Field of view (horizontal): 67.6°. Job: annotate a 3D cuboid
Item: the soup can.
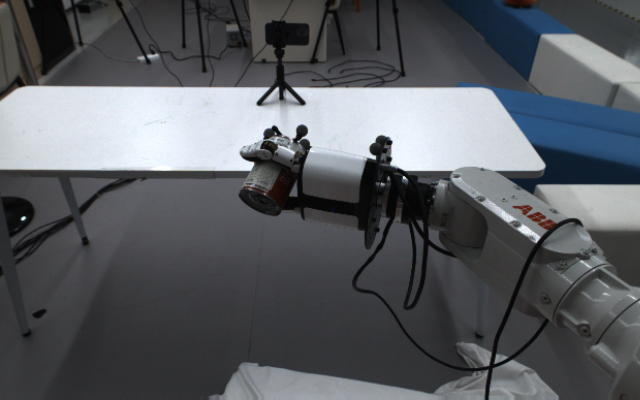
[{"bbox_3d":[-0.067,-0.036,0.713,0.067,0.067,0.101,15,63,18],"label":"soup can"}]
